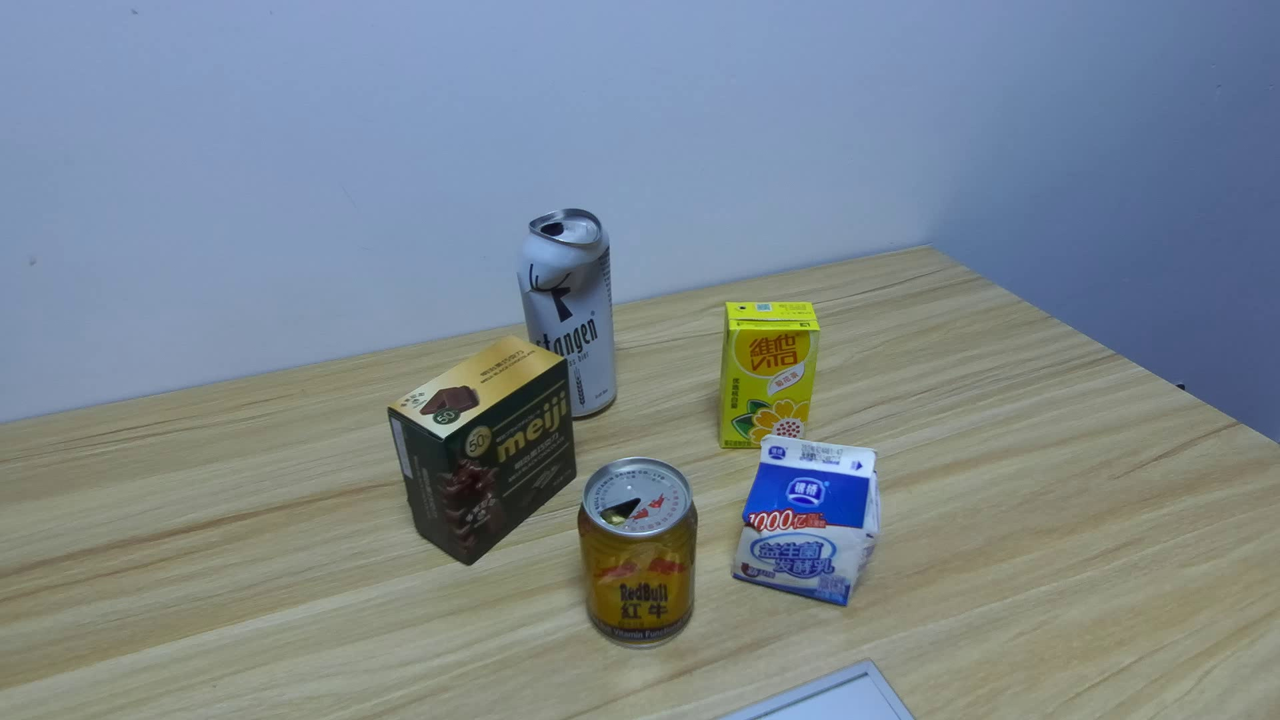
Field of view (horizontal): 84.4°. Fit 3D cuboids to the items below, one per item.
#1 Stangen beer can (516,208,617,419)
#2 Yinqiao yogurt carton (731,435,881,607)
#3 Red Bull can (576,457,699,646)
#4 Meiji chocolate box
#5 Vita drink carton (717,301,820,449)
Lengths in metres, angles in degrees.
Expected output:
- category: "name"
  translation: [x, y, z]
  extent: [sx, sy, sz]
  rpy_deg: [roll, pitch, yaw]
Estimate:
- category: "Stangen beer can"
  translation: [-0.054, -0.032, 0.557]
  extent: [0.066, 0.162, 0.077]
  rpy_deg: [-2, 33, 0]
- category: "Yinqiao yogurt carton"
  translation: [0.105, 0.086, 0.432]
  extent: [0.083, 0.093, 0.077]
  rpy_deg: [10, 35, 17]
- category: "Red Bull can"
  translation: [0.000, 0.110, 0.403]
  extent: [0.069, 0.092, 0.069]
  rpy_deg: [-1, 32, 1]
- category: "Meiji chocolate box"
  translation: [-0.099, 0.058, 0.473]
  extent: [0.056, 0.109, 0.110]
  rpy_deg: [22, 39, 31]
- category: "Vita drink carton"
  translation: [0.094, 0.012, 0.529]
  extent: [0.066, 0.109, 0.043]
  rpy_deg: [0, 34, 1]
